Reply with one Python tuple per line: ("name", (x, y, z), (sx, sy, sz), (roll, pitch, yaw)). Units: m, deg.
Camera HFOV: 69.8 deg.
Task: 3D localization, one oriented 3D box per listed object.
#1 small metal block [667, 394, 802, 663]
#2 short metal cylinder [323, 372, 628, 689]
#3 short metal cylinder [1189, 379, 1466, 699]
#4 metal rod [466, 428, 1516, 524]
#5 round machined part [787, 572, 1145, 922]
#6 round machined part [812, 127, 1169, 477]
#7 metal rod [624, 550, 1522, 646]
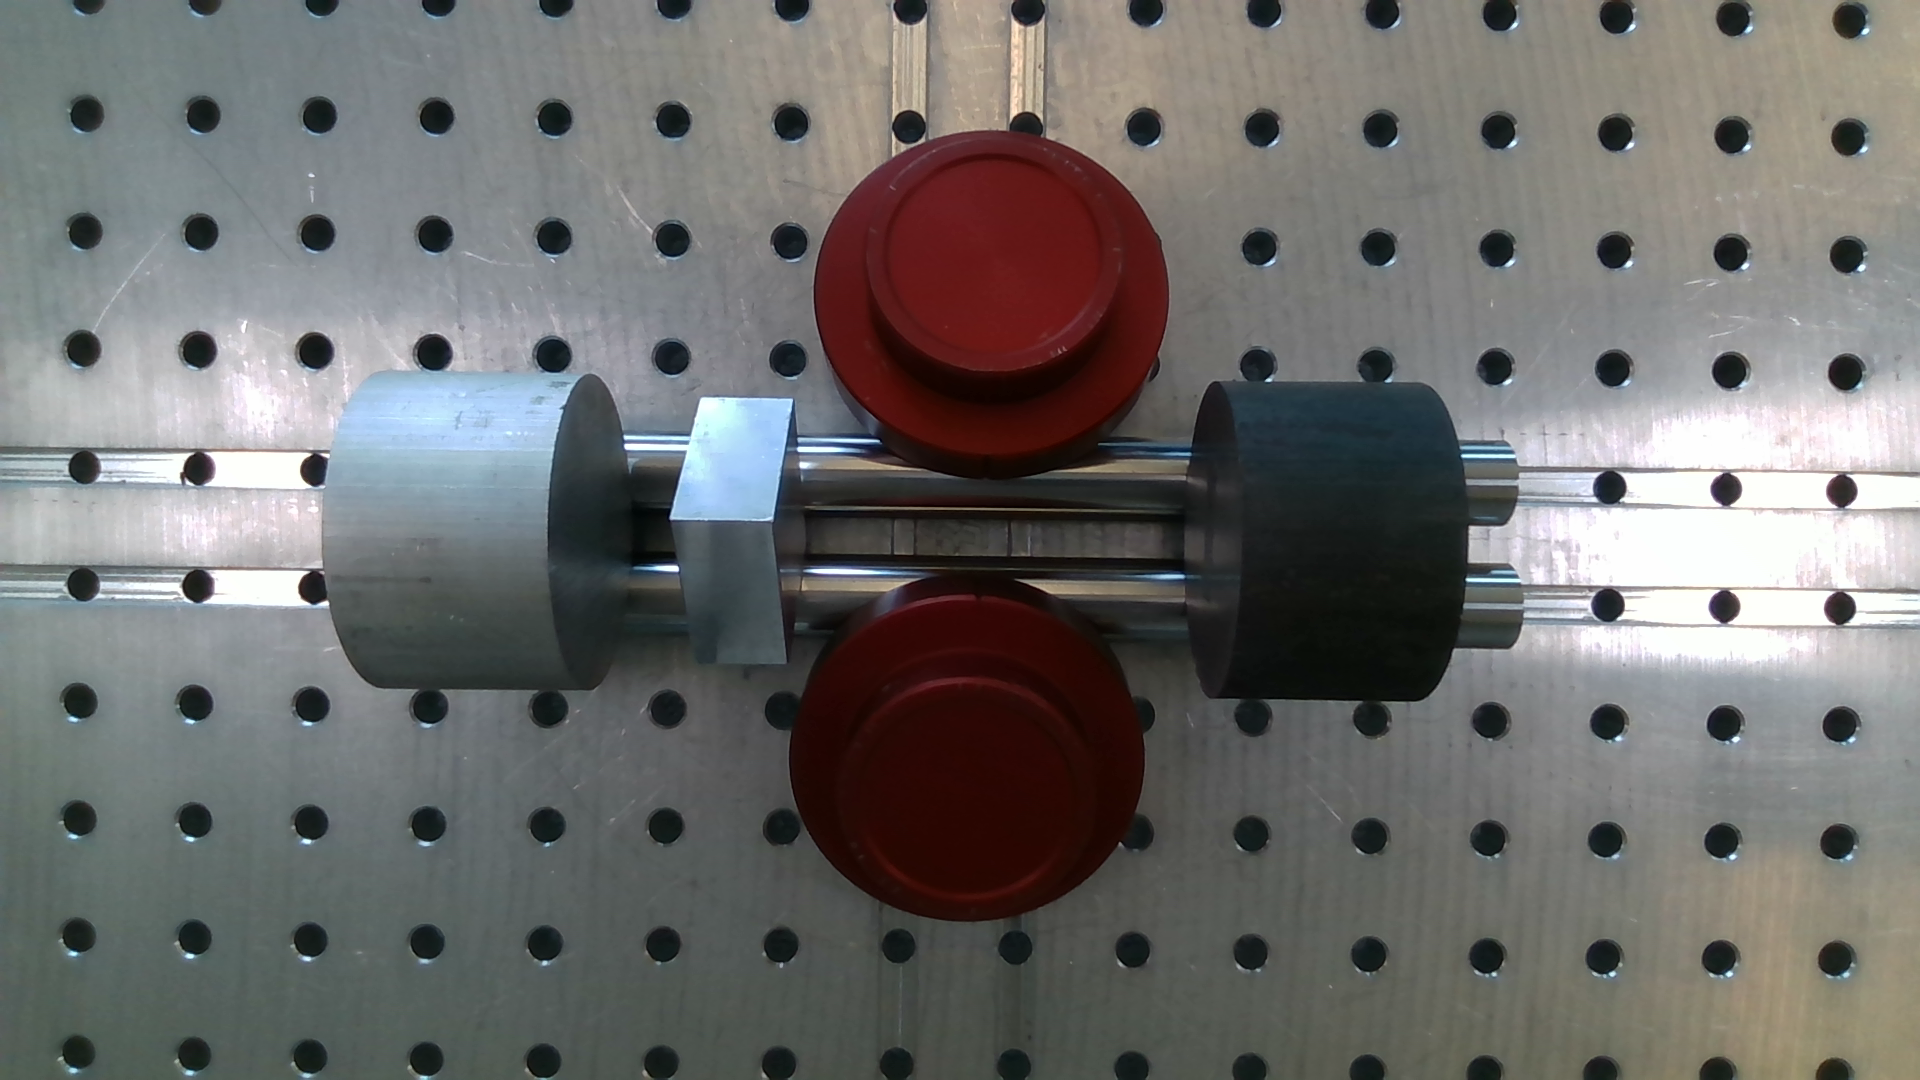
("small metal block", (-0.057, -0.003, 0.362), (0.025, 0.050, 0.050), (1, 132, 0))
("short metal cylinder", (-0.118, -0.003, 0.349), (0.050, 0.080, 0.080), (1, 90, 0))
("short metal cylinder", (0.088, 0.000, 0.348), (0.050, 0.080, 0.080), (1, 90, 0))
("metal rod", (0.005, -0.019, 0.397), (0.300, 0.025, 0.025), (1, 90, 0))
("round machined part", (0.002, 0.061, 0.376), (0.098, 0.042, 0.098), (0, 105, 0))
("round machined part", (0.008, -0.070, 0.377), (0.098, 0.042, 0.098), (0, 76, 0))
("metal rod", (0.007, 0.016, 0.397), (0.300, 0.025, 0.025), (1, 90, 0))
